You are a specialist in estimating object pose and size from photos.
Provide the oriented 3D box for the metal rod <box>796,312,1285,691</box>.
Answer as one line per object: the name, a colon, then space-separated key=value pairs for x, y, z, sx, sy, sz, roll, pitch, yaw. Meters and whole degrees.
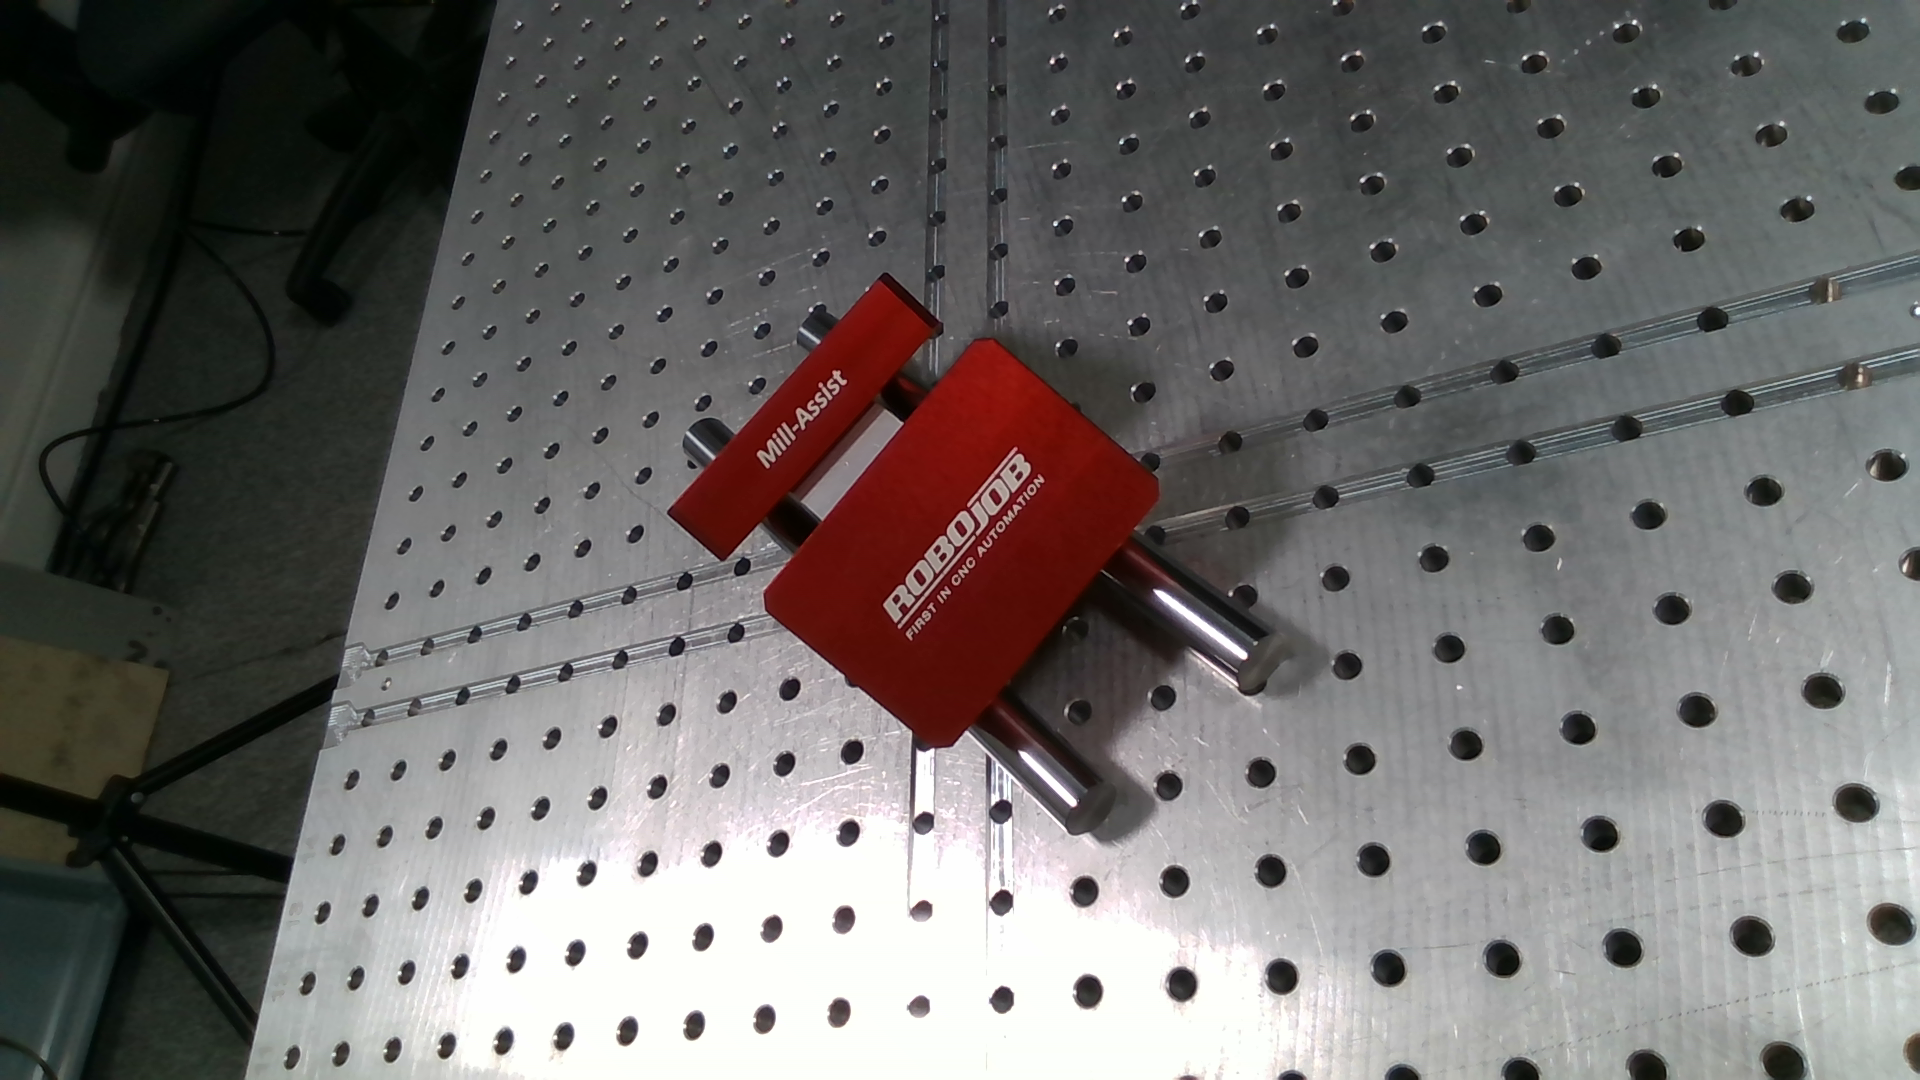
metal rod: x=0.019 y=-0.029 z=0.593 sx=0.025 sy=0.025 sz=0.299 roll=-50 pitch=51 yaw=-1

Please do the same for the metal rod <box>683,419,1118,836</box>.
metal rod: x=-0.040 y=0.024 z=0.601 sx=0.025 sy=0.025 sz=0.299 roll=-49 pitch=51 yaw=0

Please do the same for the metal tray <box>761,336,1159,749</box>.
metal tray: x=0.000 y=0.001 z=0.518 sx=0.090 sy=0.030 sz=0.130 roll=40 pitch=89 yaw=-5

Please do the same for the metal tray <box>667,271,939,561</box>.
metal tray: x=-0.066 y=-0.053 z=0.587 sx=0.130 sy=0.030 sz=0.090 roll=-48 pitch=7 yaw=1

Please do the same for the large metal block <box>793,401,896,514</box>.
large metal block: x=-0.019 y=-0.010 z=0.569 sx=0.050 sy=0.080 sz=0.080 roll=-49 pitch=51 yaw=0
